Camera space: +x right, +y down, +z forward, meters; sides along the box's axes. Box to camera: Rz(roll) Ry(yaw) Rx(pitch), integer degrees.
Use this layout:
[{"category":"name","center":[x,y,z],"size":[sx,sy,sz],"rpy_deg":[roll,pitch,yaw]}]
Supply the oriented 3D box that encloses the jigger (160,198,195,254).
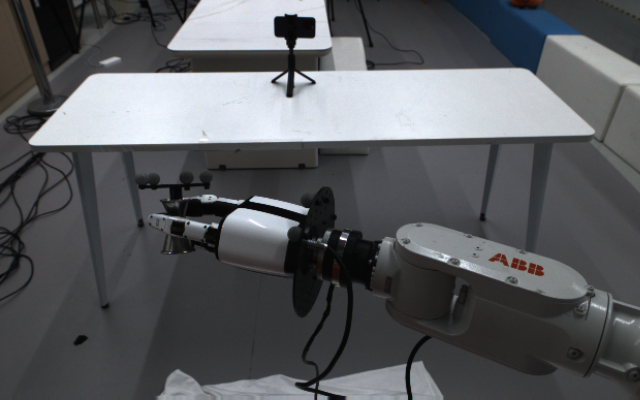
[{"category":"jigger","center":[-0.183,0.033,0.622],"size":[0.043,0.071,0.043],"rpy_deg":[-2,4,0]}]
